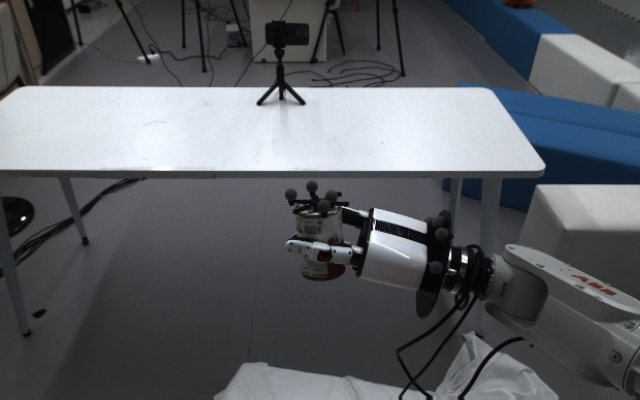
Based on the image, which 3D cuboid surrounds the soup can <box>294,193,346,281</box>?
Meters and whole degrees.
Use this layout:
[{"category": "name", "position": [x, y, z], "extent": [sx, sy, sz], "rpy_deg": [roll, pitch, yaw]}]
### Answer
[{"category": "soup can", "position": [0.002, 0.057, 0.694], "extent": [0.067, 0.101, 0.067], "rpy_deg": [-4, 21, 1]}]
